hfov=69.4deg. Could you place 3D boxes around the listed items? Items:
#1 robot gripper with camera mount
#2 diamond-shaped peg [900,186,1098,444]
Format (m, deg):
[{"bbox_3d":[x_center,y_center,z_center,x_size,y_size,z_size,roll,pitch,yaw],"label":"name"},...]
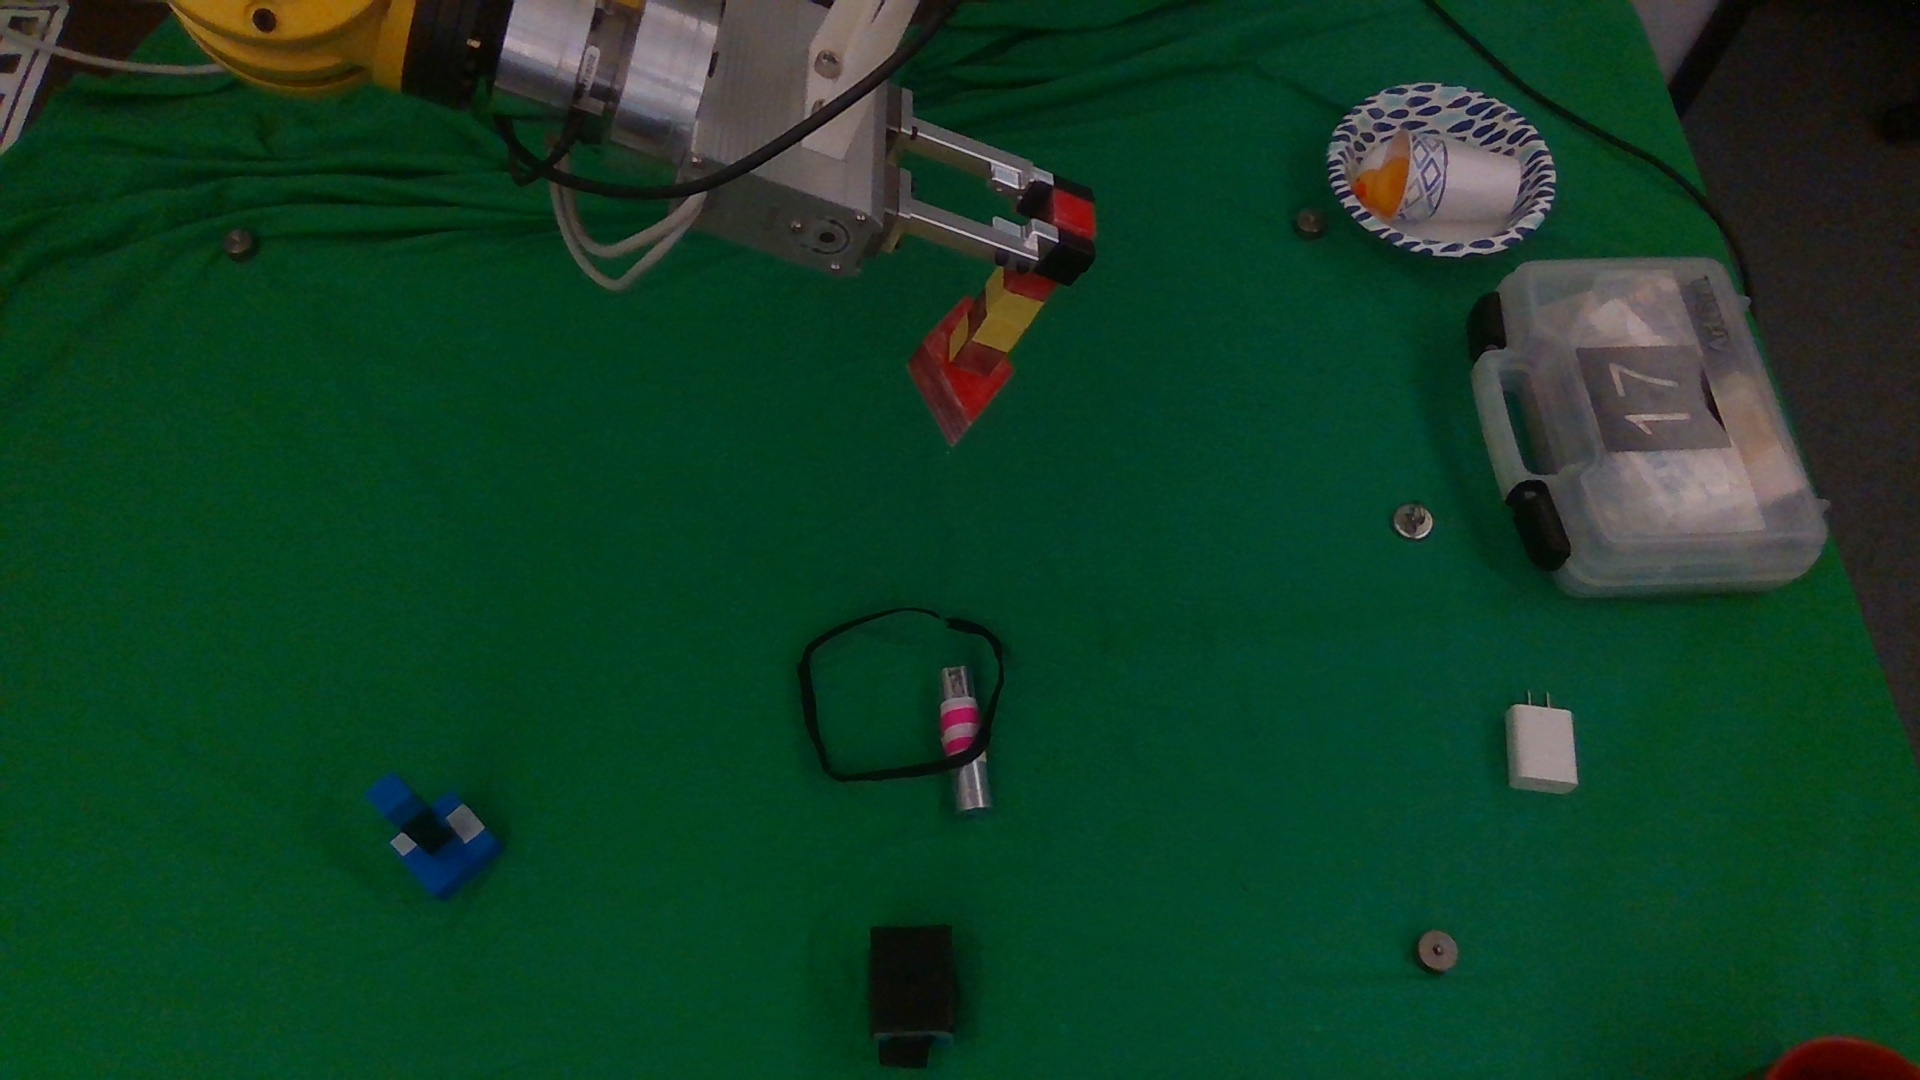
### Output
[{"bbox_3d":[0.008,-0.197,0.521,0.158,0.194,0.119,16,44,-22],"label":"robot gripper with camera mount"},{"bbox_3d":[0.020,-0.108,0.623,0.045,0.122,0.074,-12,66,-38],"label":"diamond-shaped peg"}]
